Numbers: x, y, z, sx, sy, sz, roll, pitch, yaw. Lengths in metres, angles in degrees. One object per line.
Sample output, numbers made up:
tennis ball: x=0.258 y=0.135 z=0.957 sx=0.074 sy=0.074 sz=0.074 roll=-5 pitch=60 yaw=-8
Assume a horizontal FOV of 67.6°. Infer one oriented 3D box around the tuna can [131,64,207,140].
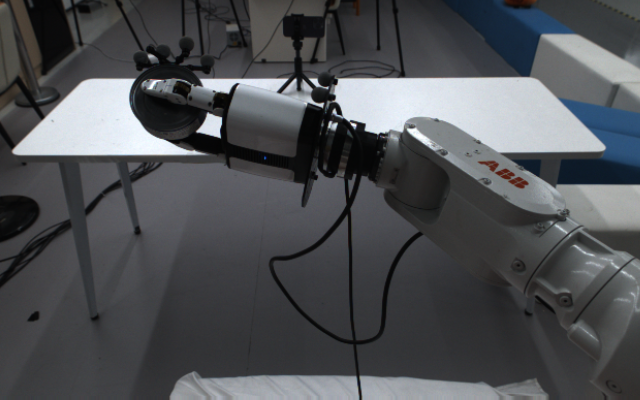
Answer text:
tuna can: x=-0.176 y=-0.115 z=0.576 sx=0.085 sy=0.034 sz=0.085 roll=1 pitch=71 yaw=-4
